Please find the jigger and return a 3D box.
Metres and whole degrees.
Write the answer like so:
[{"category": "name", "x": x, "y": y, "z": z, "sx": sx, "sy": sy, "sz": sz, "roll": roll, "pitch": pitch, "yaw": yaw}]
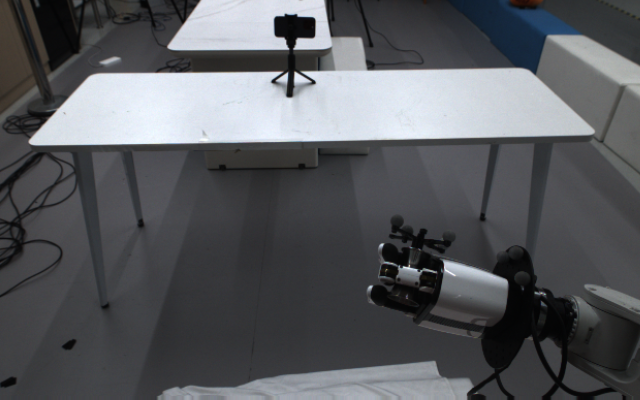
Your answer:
[{"category": "jigger", "x": 0.119, "y": 0.099, "z": 0.636, "sx": 0.043, "sy": 0.043, "sz": 0.071, "roll": 13, "pitch": 72, "yaw": 15}]
